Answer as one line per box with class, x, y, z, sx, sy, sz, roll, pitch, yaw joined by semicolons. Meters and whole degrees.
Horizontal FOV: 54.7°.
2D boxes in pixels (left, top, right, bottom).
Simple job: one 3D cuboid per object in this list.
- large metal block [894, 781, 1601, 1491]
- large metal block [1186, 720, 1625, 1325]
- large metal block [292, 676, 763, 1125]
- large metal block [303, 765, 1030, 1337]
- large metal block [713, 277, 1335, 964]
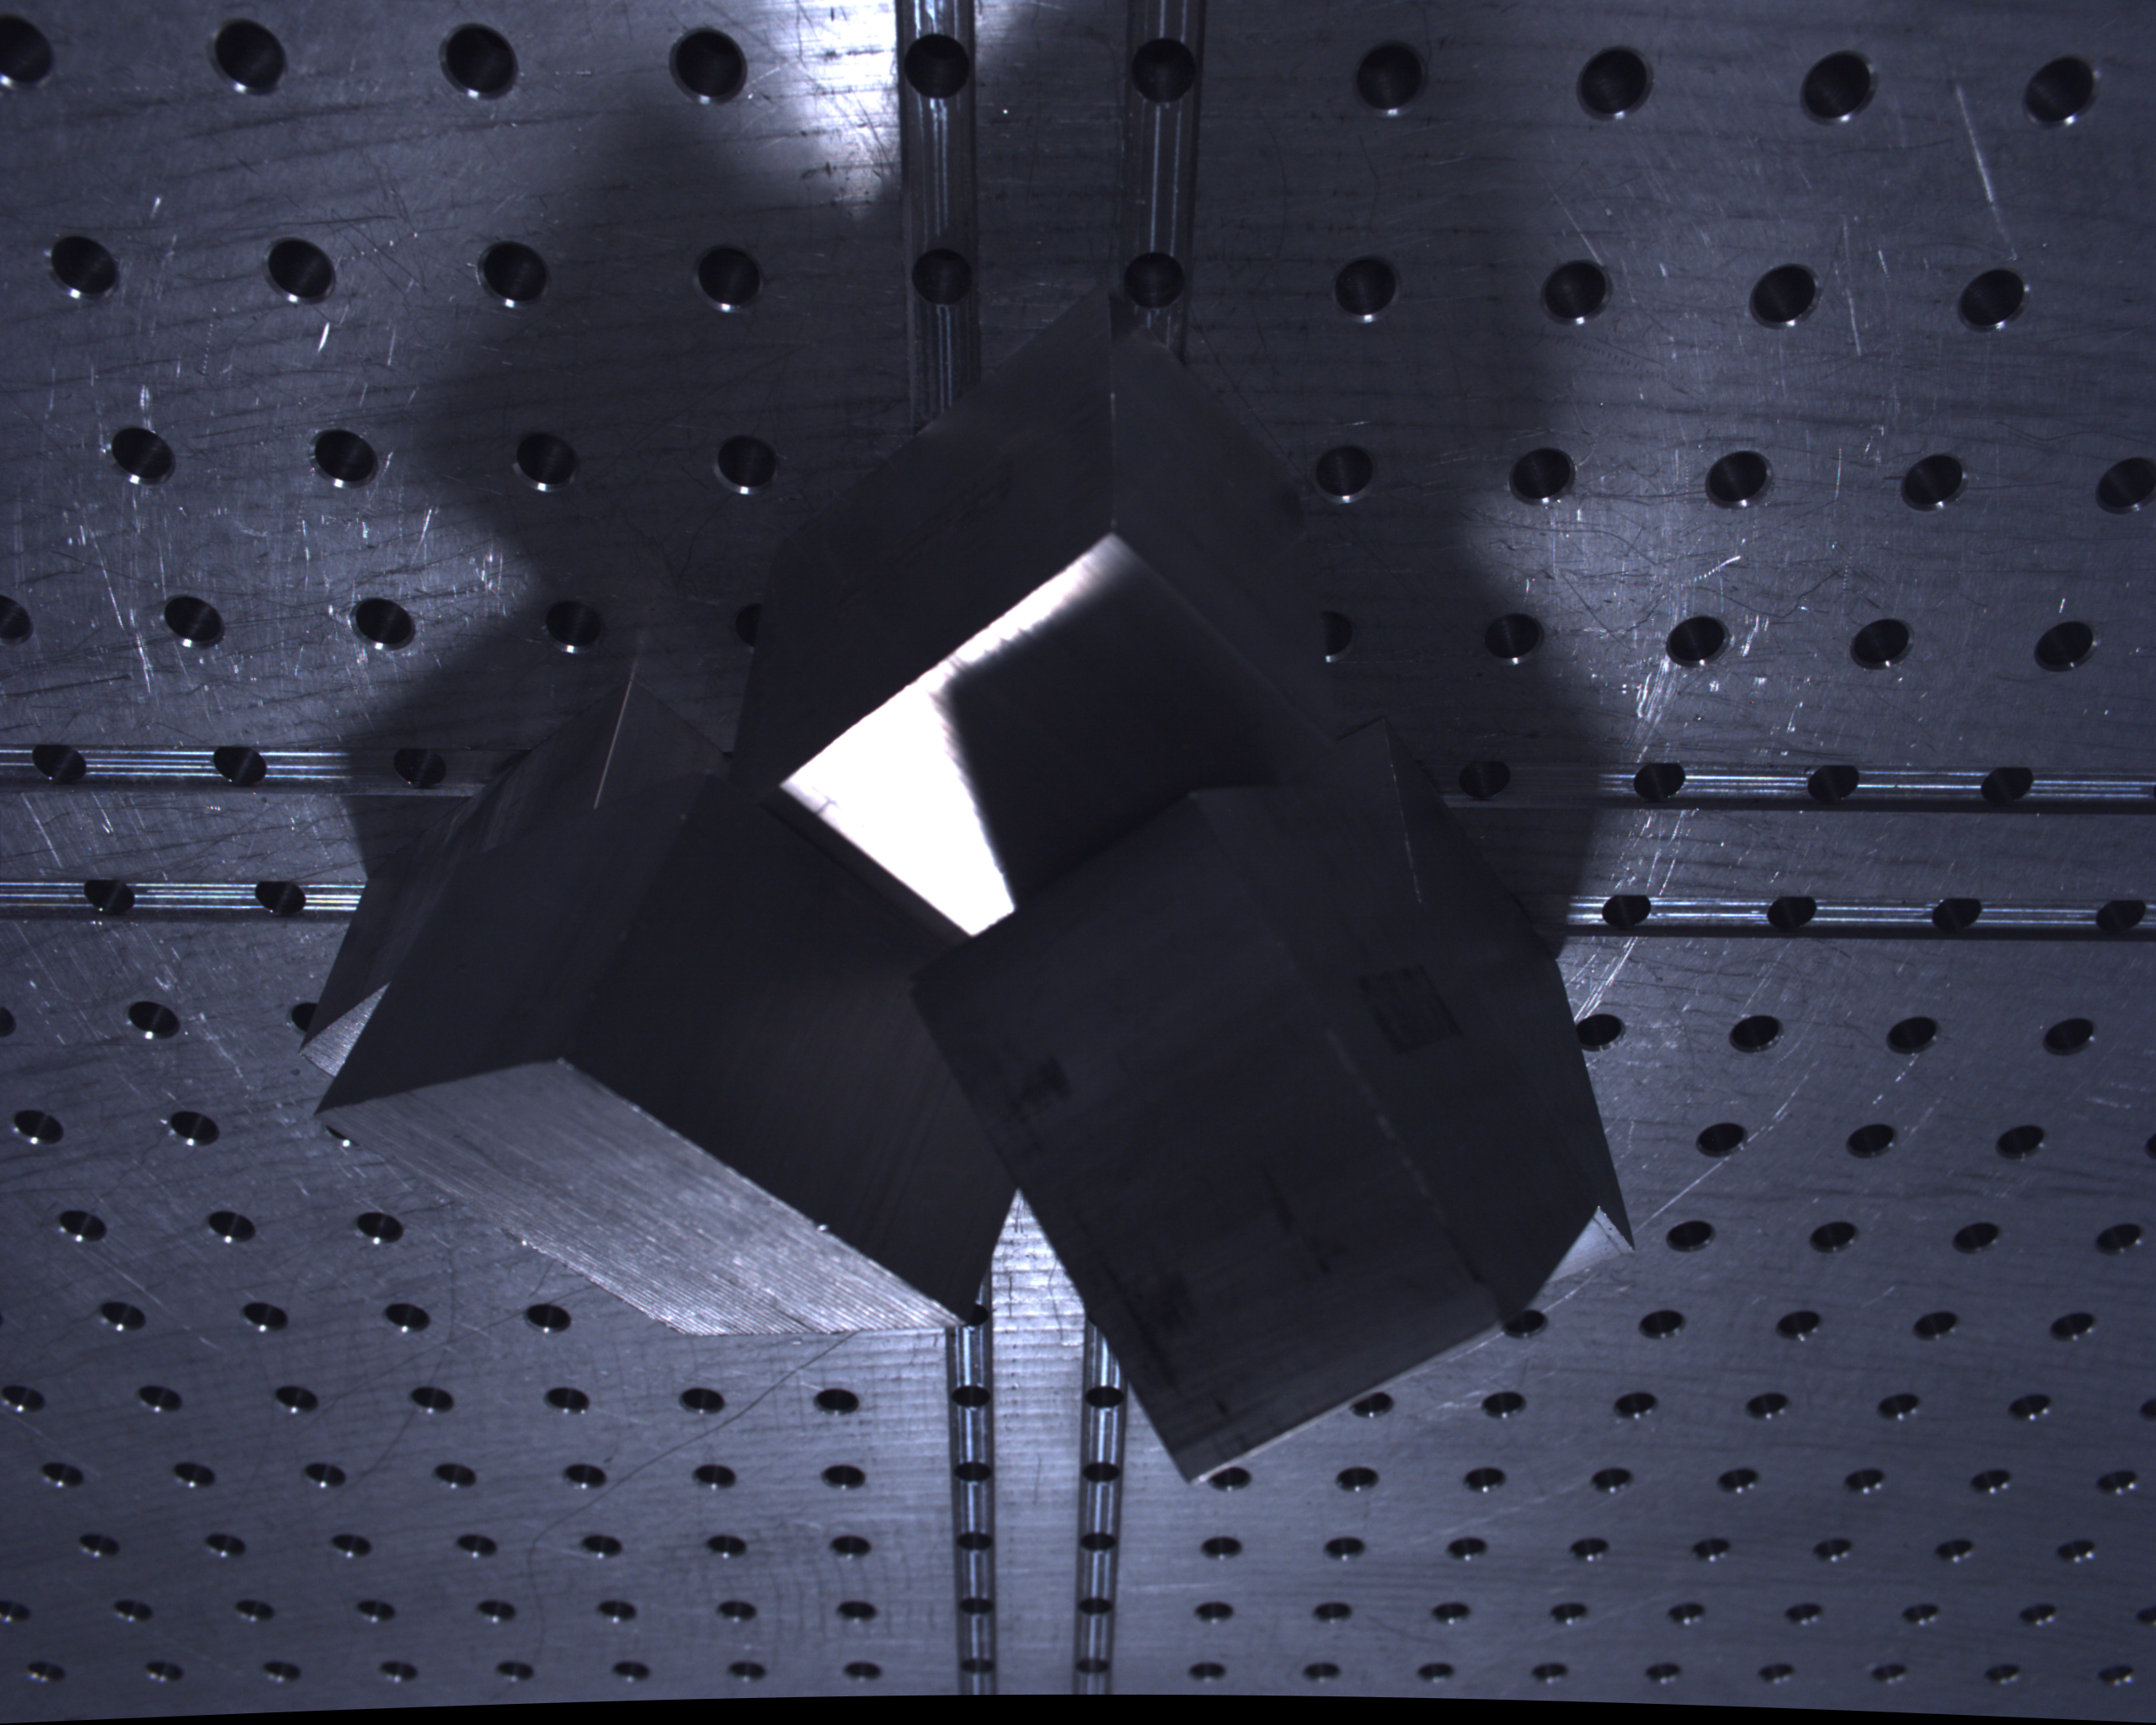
large metal block;0.029;0.035;0.313;0.050;0.080;0.080;-34;80;20
large metal block;0.058;0.034;0.403;0.050;0.080;0.080;-27;125;21
large metal block;-0.090;0.023;0.413;0.080;0.050;0.080;-32;124;24
large metal block;-0.063;0.036;0.338;0.080;0.050;0.080;-15;134;46
large metal block;-0.009;-0.037;0.342;0.080;0.080;0.050;-34;123;25
